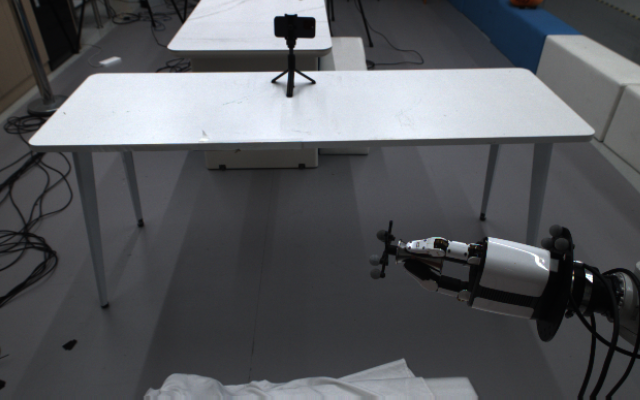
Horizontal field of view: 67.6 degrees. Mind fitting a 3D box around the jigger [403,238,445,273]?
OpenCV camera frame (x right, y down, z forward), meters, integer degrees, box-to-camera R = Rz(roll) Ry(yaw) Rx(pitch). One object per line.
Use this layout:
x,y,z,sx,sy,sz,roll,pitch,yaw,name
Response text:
0.156,0.077,0.720,0.071,0.043,0.043,10,35,15,jigger
